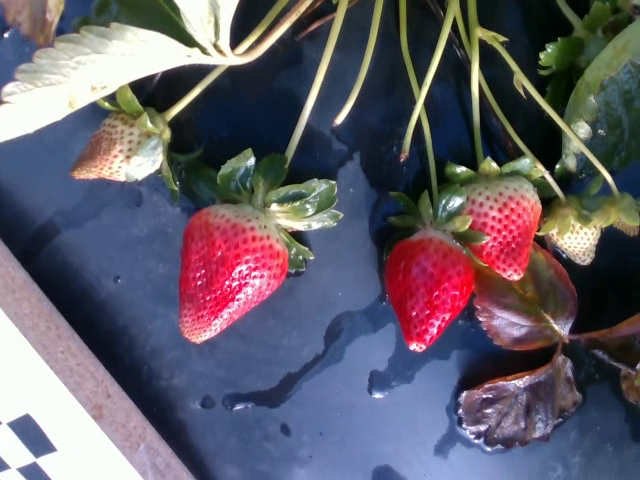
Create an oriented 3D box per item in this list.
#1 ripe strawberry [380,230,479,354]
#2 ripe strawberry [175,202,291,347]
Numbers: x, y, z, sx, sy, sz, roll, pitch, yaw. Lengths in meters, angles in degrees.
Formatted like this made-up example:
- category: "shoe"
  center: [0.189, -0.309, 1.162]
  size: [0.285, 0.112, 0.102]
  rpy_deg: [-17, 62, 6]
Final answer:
- category: "ripe strawberry"
  center: [0.044, 0.024, 0.277]
  size: [0.044, 0.055, 0.042]
  rpy_deg: [4, -21, 26]
- category: "ripe strawberry"
  center: [-0.041, 0.014, 0.263]
  size: [0.050, 0.065, 0.050]
  rpy_deg: [25, -18, 13]
